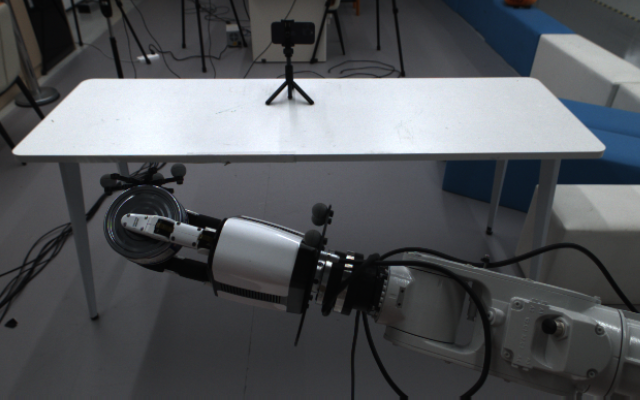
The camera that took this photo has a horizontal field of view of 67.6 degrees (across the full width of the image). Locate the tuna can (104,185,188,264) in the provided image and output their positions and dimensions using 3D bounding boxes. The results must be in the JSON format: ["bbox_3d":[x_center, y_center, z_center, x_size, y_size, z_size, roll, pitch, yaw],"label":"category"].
[{"bbox_3d":[-0.188,0.033,0.534,0.085,0.034,0.085,0,72,-1],"label":"tuna can"}]
